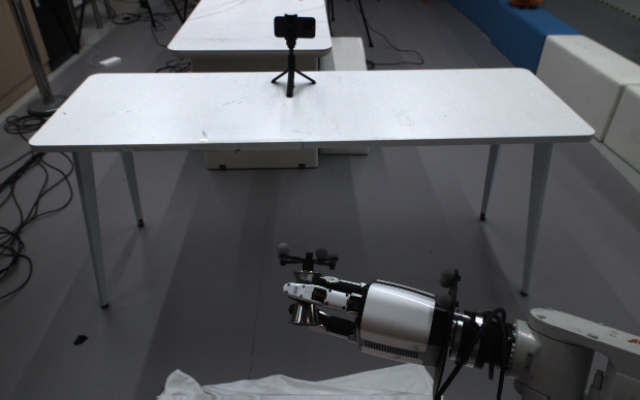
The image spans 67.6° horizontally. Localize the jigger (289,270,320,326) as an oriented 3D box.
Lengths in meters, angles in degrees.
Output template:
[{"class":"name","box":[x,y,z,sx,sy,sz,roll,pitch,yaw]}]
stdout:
[{"class":"jigger","box":[-0.019,0.130,0.645,0.043,0.043,0.071,3,72,1]}]
